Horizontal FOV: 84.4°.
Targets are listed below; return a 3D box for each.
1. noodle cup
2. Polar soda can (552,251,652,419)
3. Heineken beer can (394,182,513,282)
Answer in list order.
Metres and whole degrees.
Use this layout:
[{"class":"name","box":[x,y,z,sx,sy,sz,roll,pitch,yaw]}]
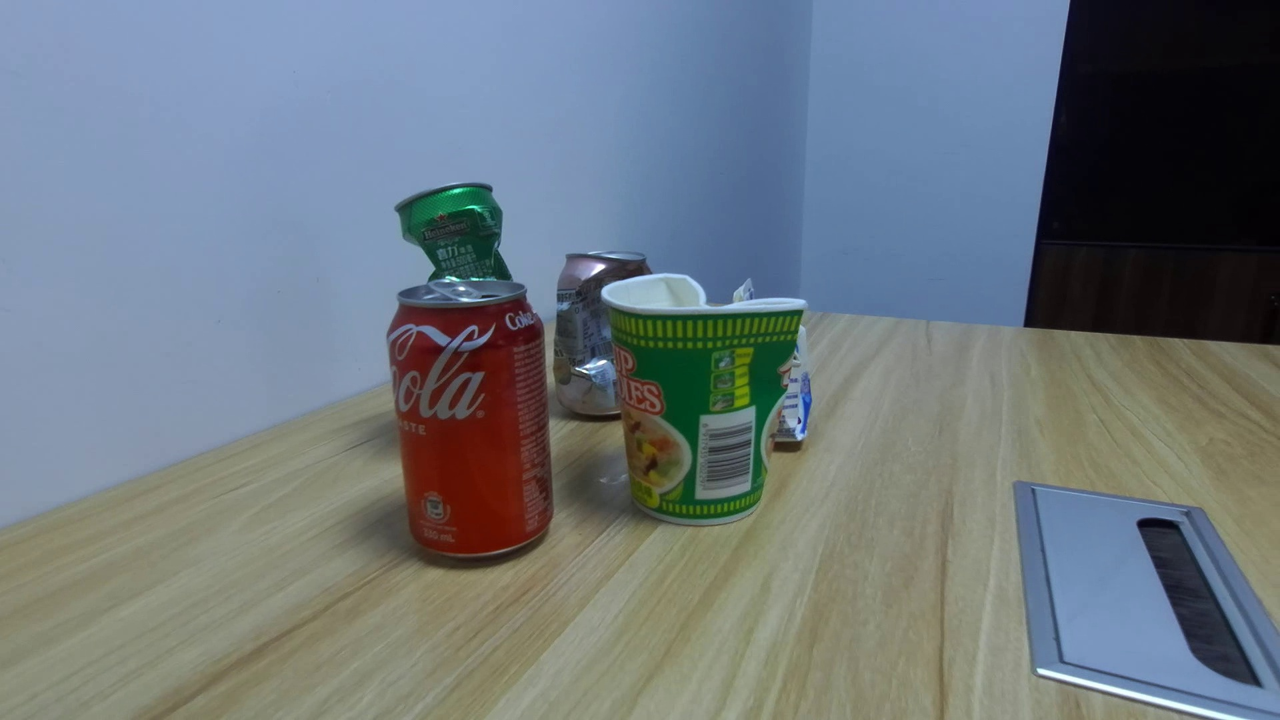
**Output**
[{"class":"noodle cup","box":[0.025,0.019,0.353,0.087,0.109,0.093,-5,16,-15]},{"class":"Polar soda can","box":[-0.019,-0.015,0.481,0.074,0.114,0.070,-4,14,-10]},{"class":"Heineken beer can","box":[-0.097,-0.020,0.411,0.078,0.159,0.067,-2,12,26]}]
